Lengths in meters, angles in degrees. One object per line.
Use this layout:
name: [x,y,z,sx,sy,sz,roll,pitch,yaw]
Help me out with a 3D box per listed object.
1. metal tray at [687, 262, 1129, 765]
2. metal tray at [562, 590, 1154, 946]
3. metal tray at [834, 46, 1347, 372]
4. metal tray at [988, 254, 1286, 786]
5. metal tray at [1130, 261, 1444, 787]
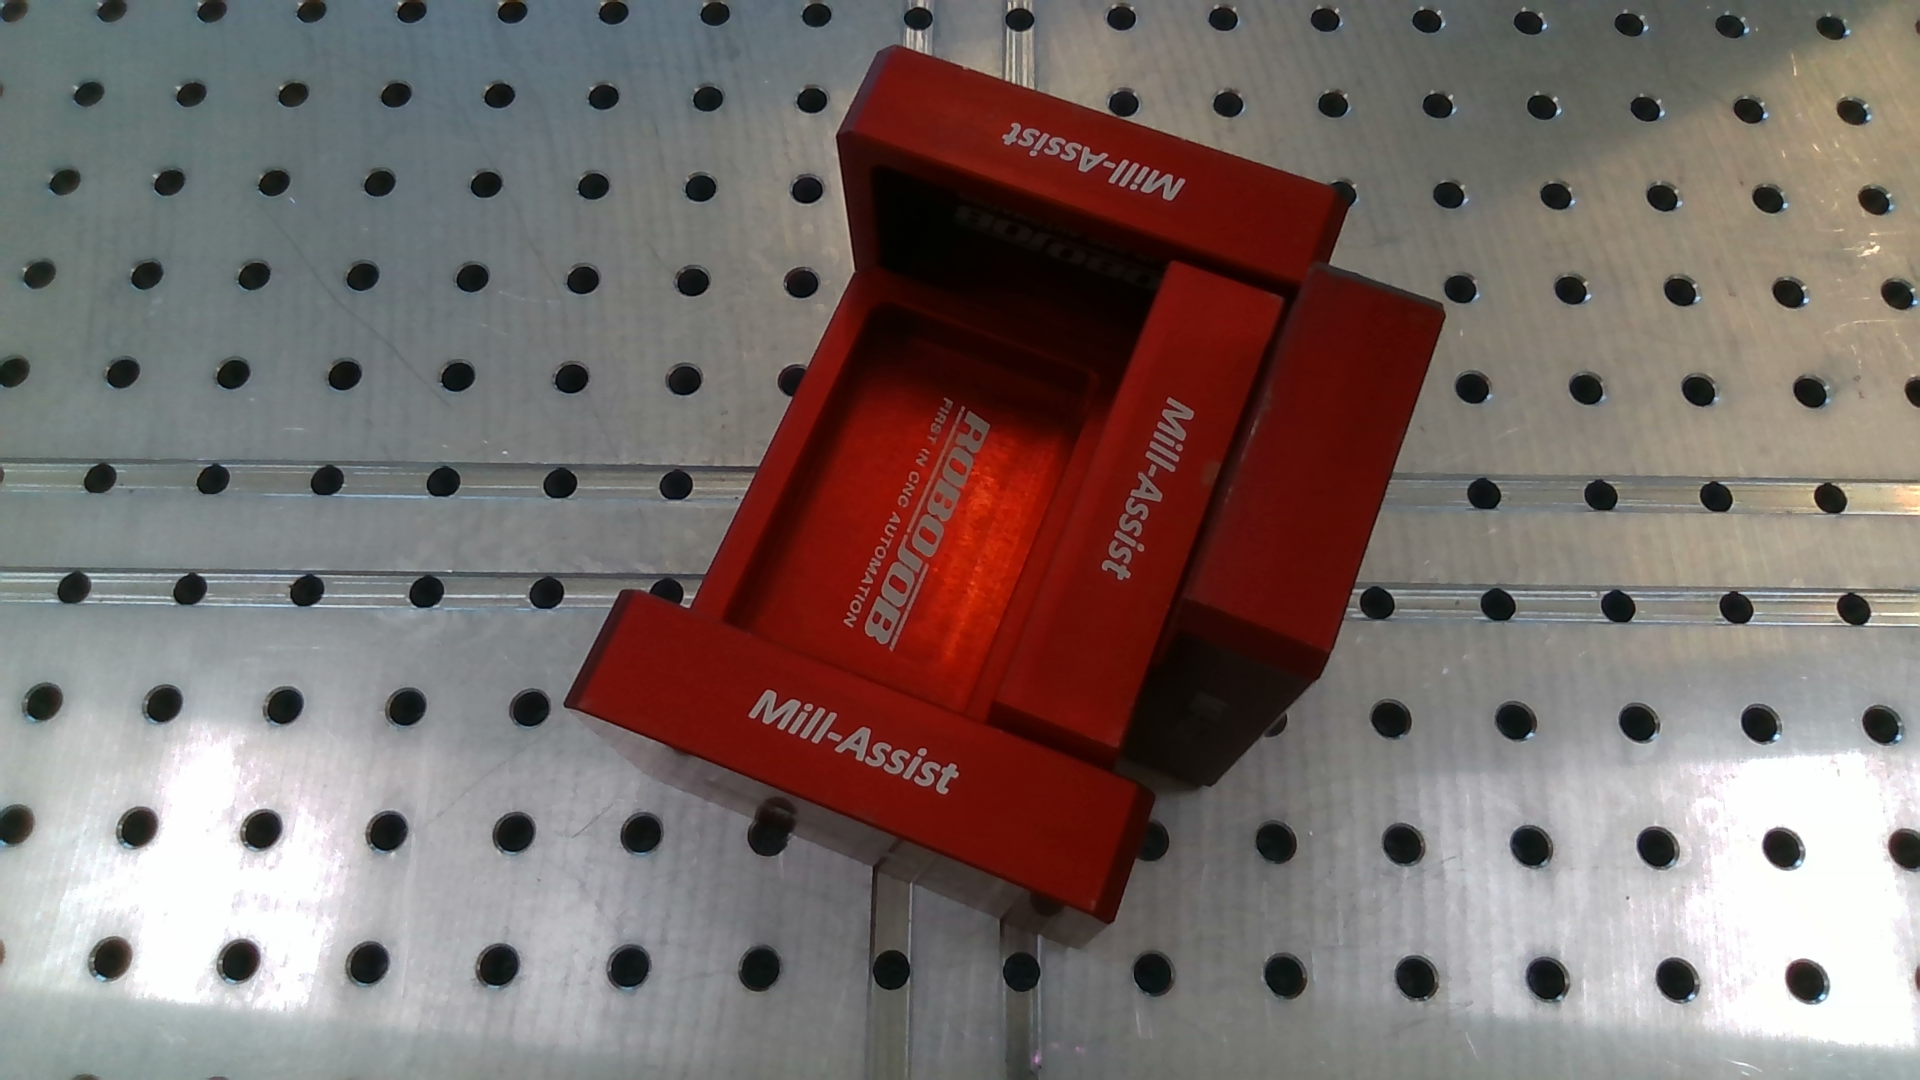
metal tray: [-0.013,-0.007,0.397,0.090,0.030,0.130,21,72,7]
metal tray: [-0.023,0.060,0.341,0.130,0.090,0.030,20,71,7]
metal tray: [0.033,-0.082,0.392,0.130,0.090,0.030,20,72,7]
metal tray: [0.044,0.003,0.362,0.030,0.090,0.130,20,72,8]
metal tray: [0.073,0.004,0.340,0.030,0.130,0.090,21,72,8]
